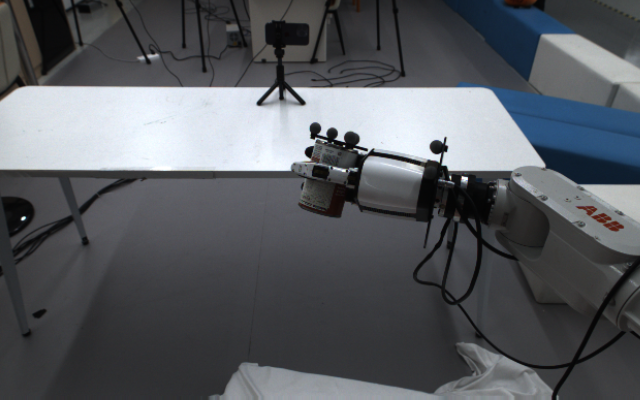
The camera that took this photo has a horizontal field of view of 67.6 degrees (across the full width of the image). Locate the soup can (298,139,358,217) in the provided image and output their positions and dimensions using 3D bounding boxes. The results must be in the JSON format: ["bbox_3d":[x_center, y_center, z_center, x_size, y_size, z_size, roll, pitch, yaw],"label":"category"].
[{"bbox_3d":[0.013,-0.031,0.717,0.067,0.101,0.067,15,7,-2],"label":"soup can"}]
